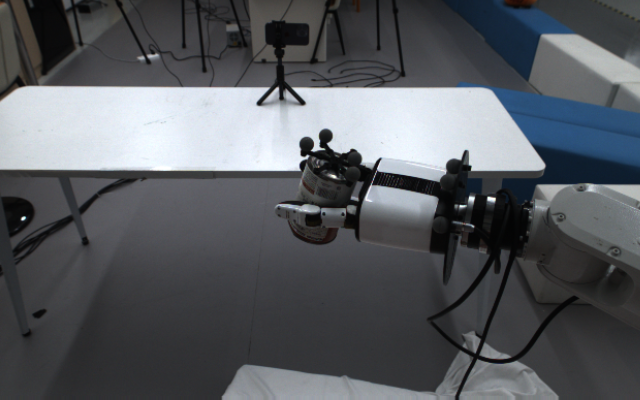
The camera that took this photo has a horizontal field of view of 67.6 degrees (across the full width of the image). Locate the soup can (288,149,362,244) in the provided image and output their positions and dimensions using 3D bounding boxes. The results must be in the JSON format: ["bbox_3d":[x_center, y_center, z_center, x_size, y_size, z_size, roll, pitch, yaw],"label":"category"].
[{"bbox_3d":[0.004,-0.003,0.612,0.067,0.101,0.067,13,35,-9],"label":"soup can"}]
